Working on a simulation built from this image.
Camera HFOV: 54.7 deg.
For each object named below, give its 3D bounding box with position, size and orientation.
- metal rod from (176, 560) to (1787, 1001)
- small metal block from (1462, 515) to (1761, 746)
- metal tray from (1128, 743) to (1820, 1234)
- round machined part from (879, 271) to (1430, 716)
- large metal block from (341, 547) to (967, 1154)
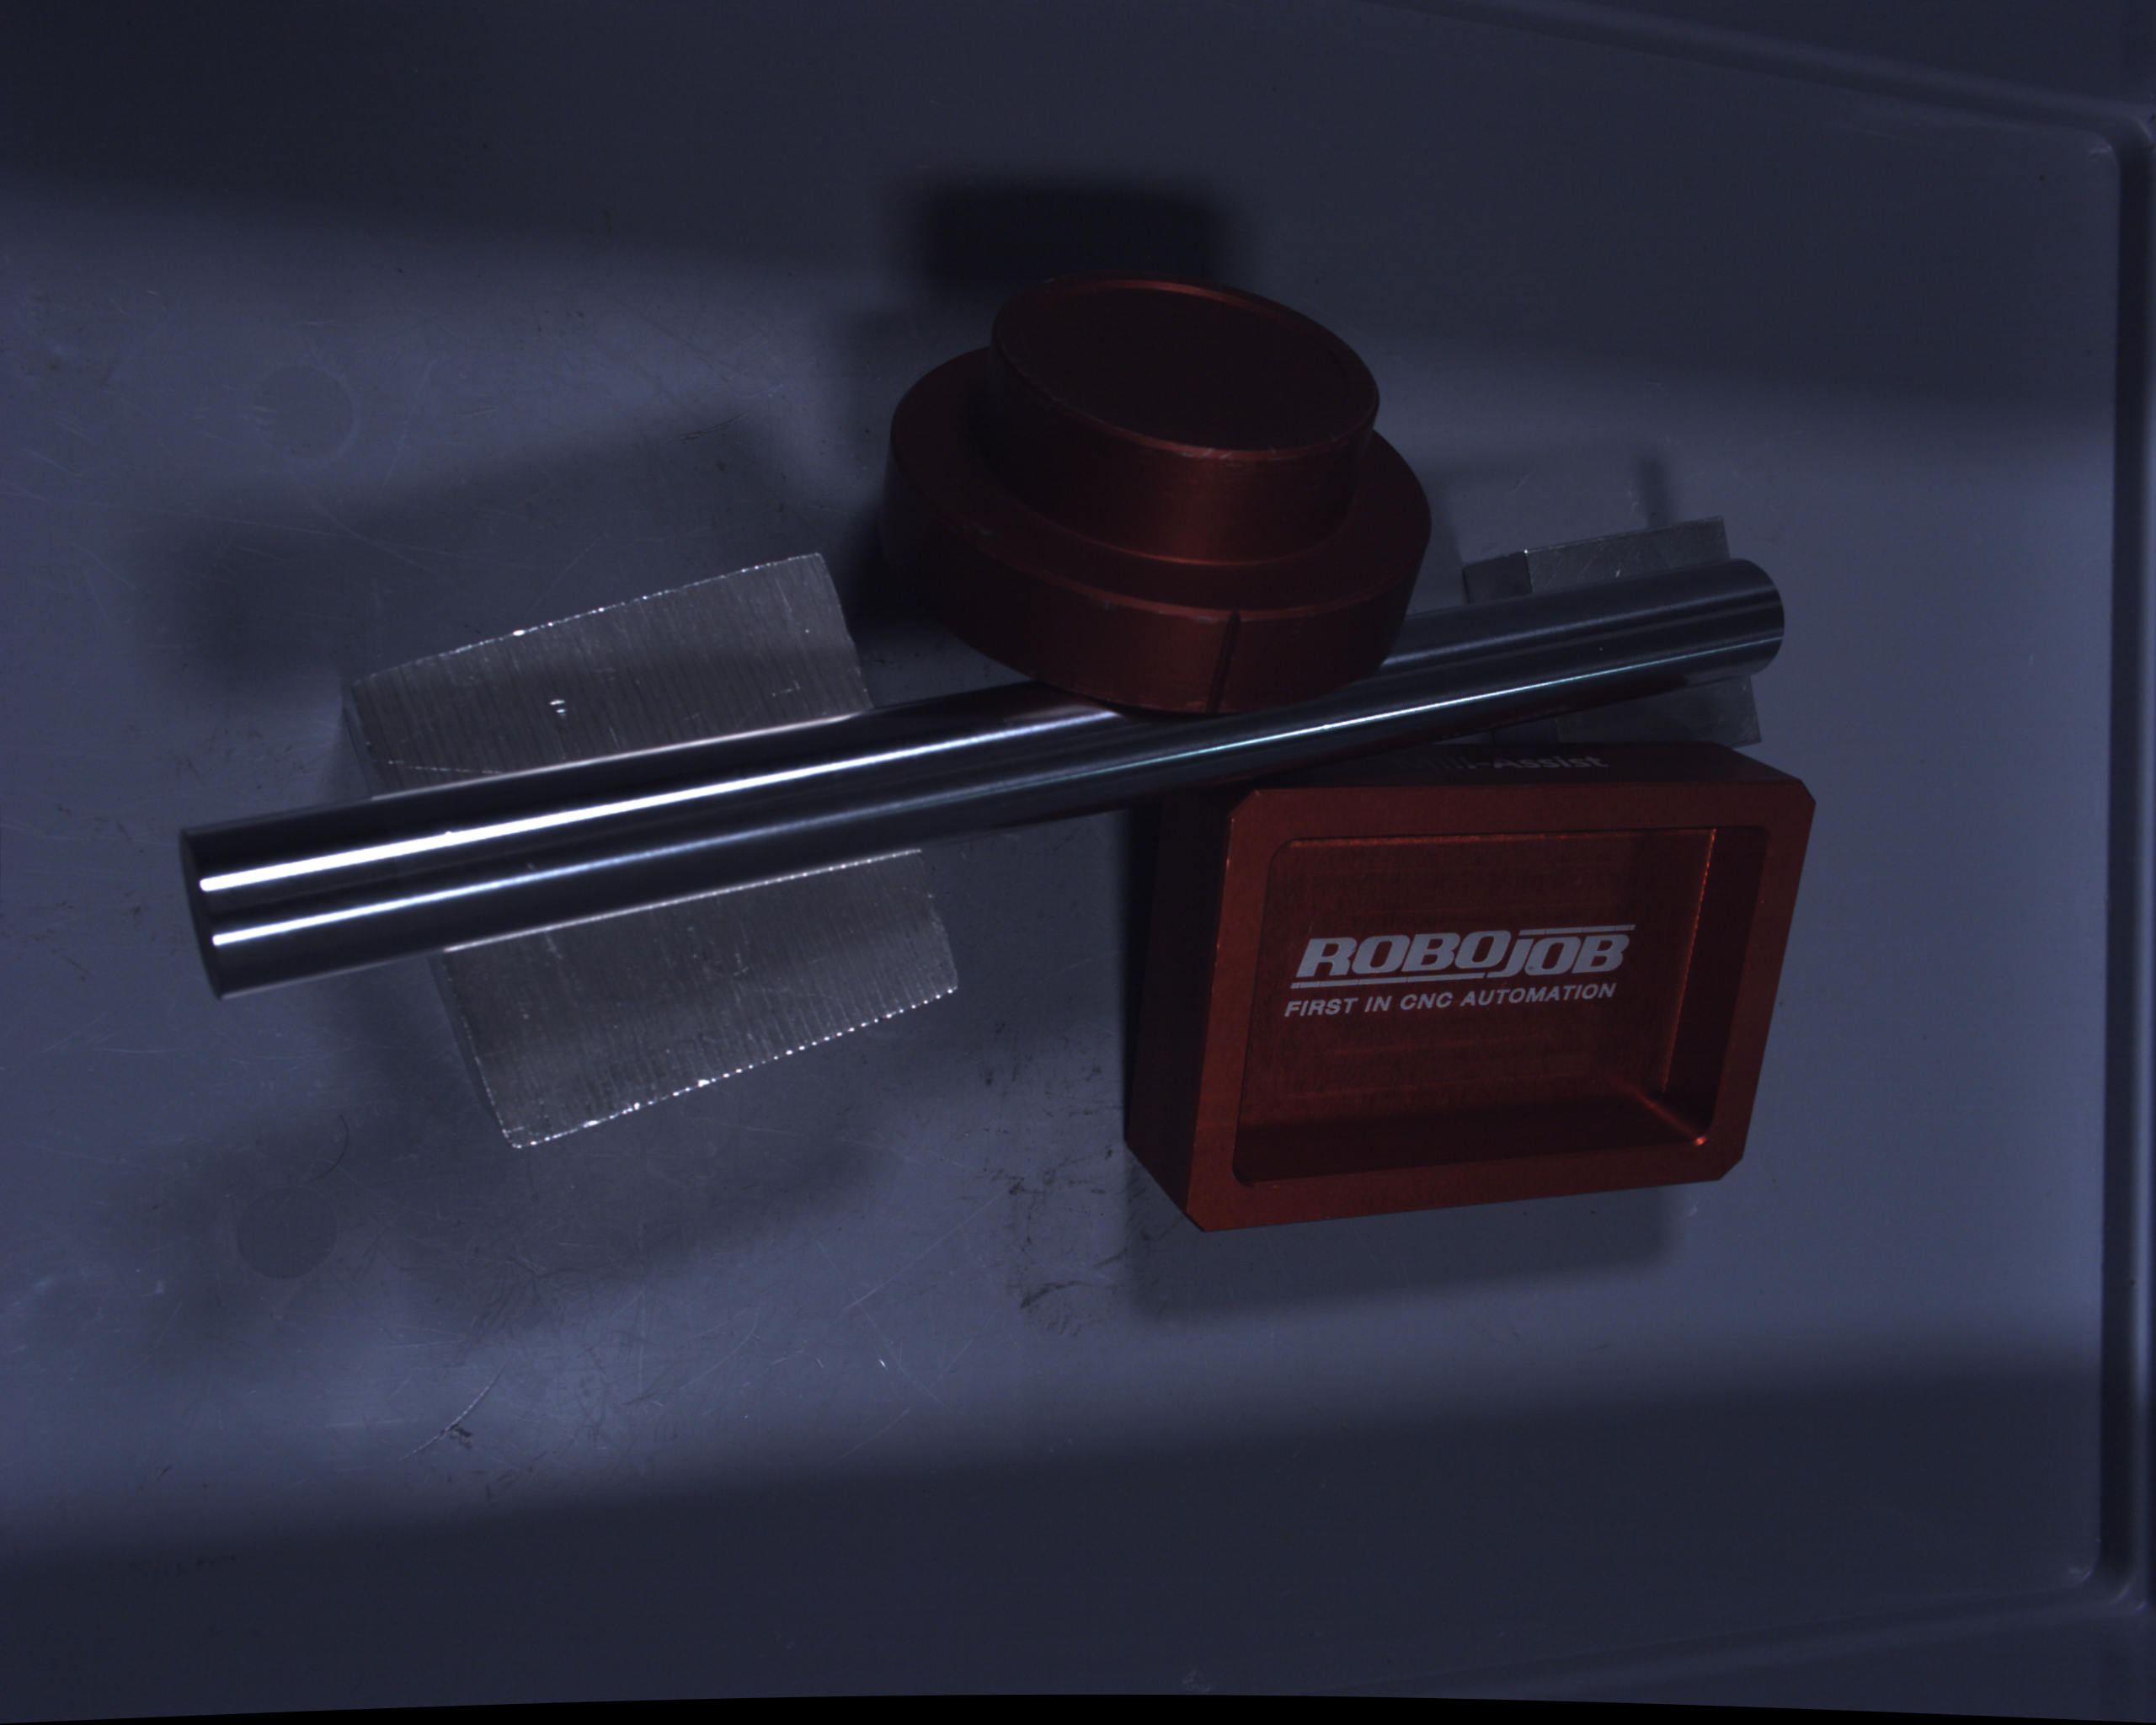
[{"bbox_3d":[0.006,-0.022,0.365,0.303,0.025,0.025,-12,95,-27],"label":"metal rod"},{"bbox_3d":[0.116,-0.045,0.453,0.050,0.025,0.050,-12,94,-20],"label":"small metal block"},{"bbox_3d":[0.080,0.023,0.422,0.131,0.030,0.089,-2,110,-21],"label":"metal tray"},{"bbox_3d":[0.016,-0.072,0.375,0.099,0.098,0.042,-5,132,-20],"label":"round machined part"},{"bbox_3d":[-0.076,-0.003,0.367,0.081,0.050,0.080,-19,97,-19],"label":"large metal block"}]
